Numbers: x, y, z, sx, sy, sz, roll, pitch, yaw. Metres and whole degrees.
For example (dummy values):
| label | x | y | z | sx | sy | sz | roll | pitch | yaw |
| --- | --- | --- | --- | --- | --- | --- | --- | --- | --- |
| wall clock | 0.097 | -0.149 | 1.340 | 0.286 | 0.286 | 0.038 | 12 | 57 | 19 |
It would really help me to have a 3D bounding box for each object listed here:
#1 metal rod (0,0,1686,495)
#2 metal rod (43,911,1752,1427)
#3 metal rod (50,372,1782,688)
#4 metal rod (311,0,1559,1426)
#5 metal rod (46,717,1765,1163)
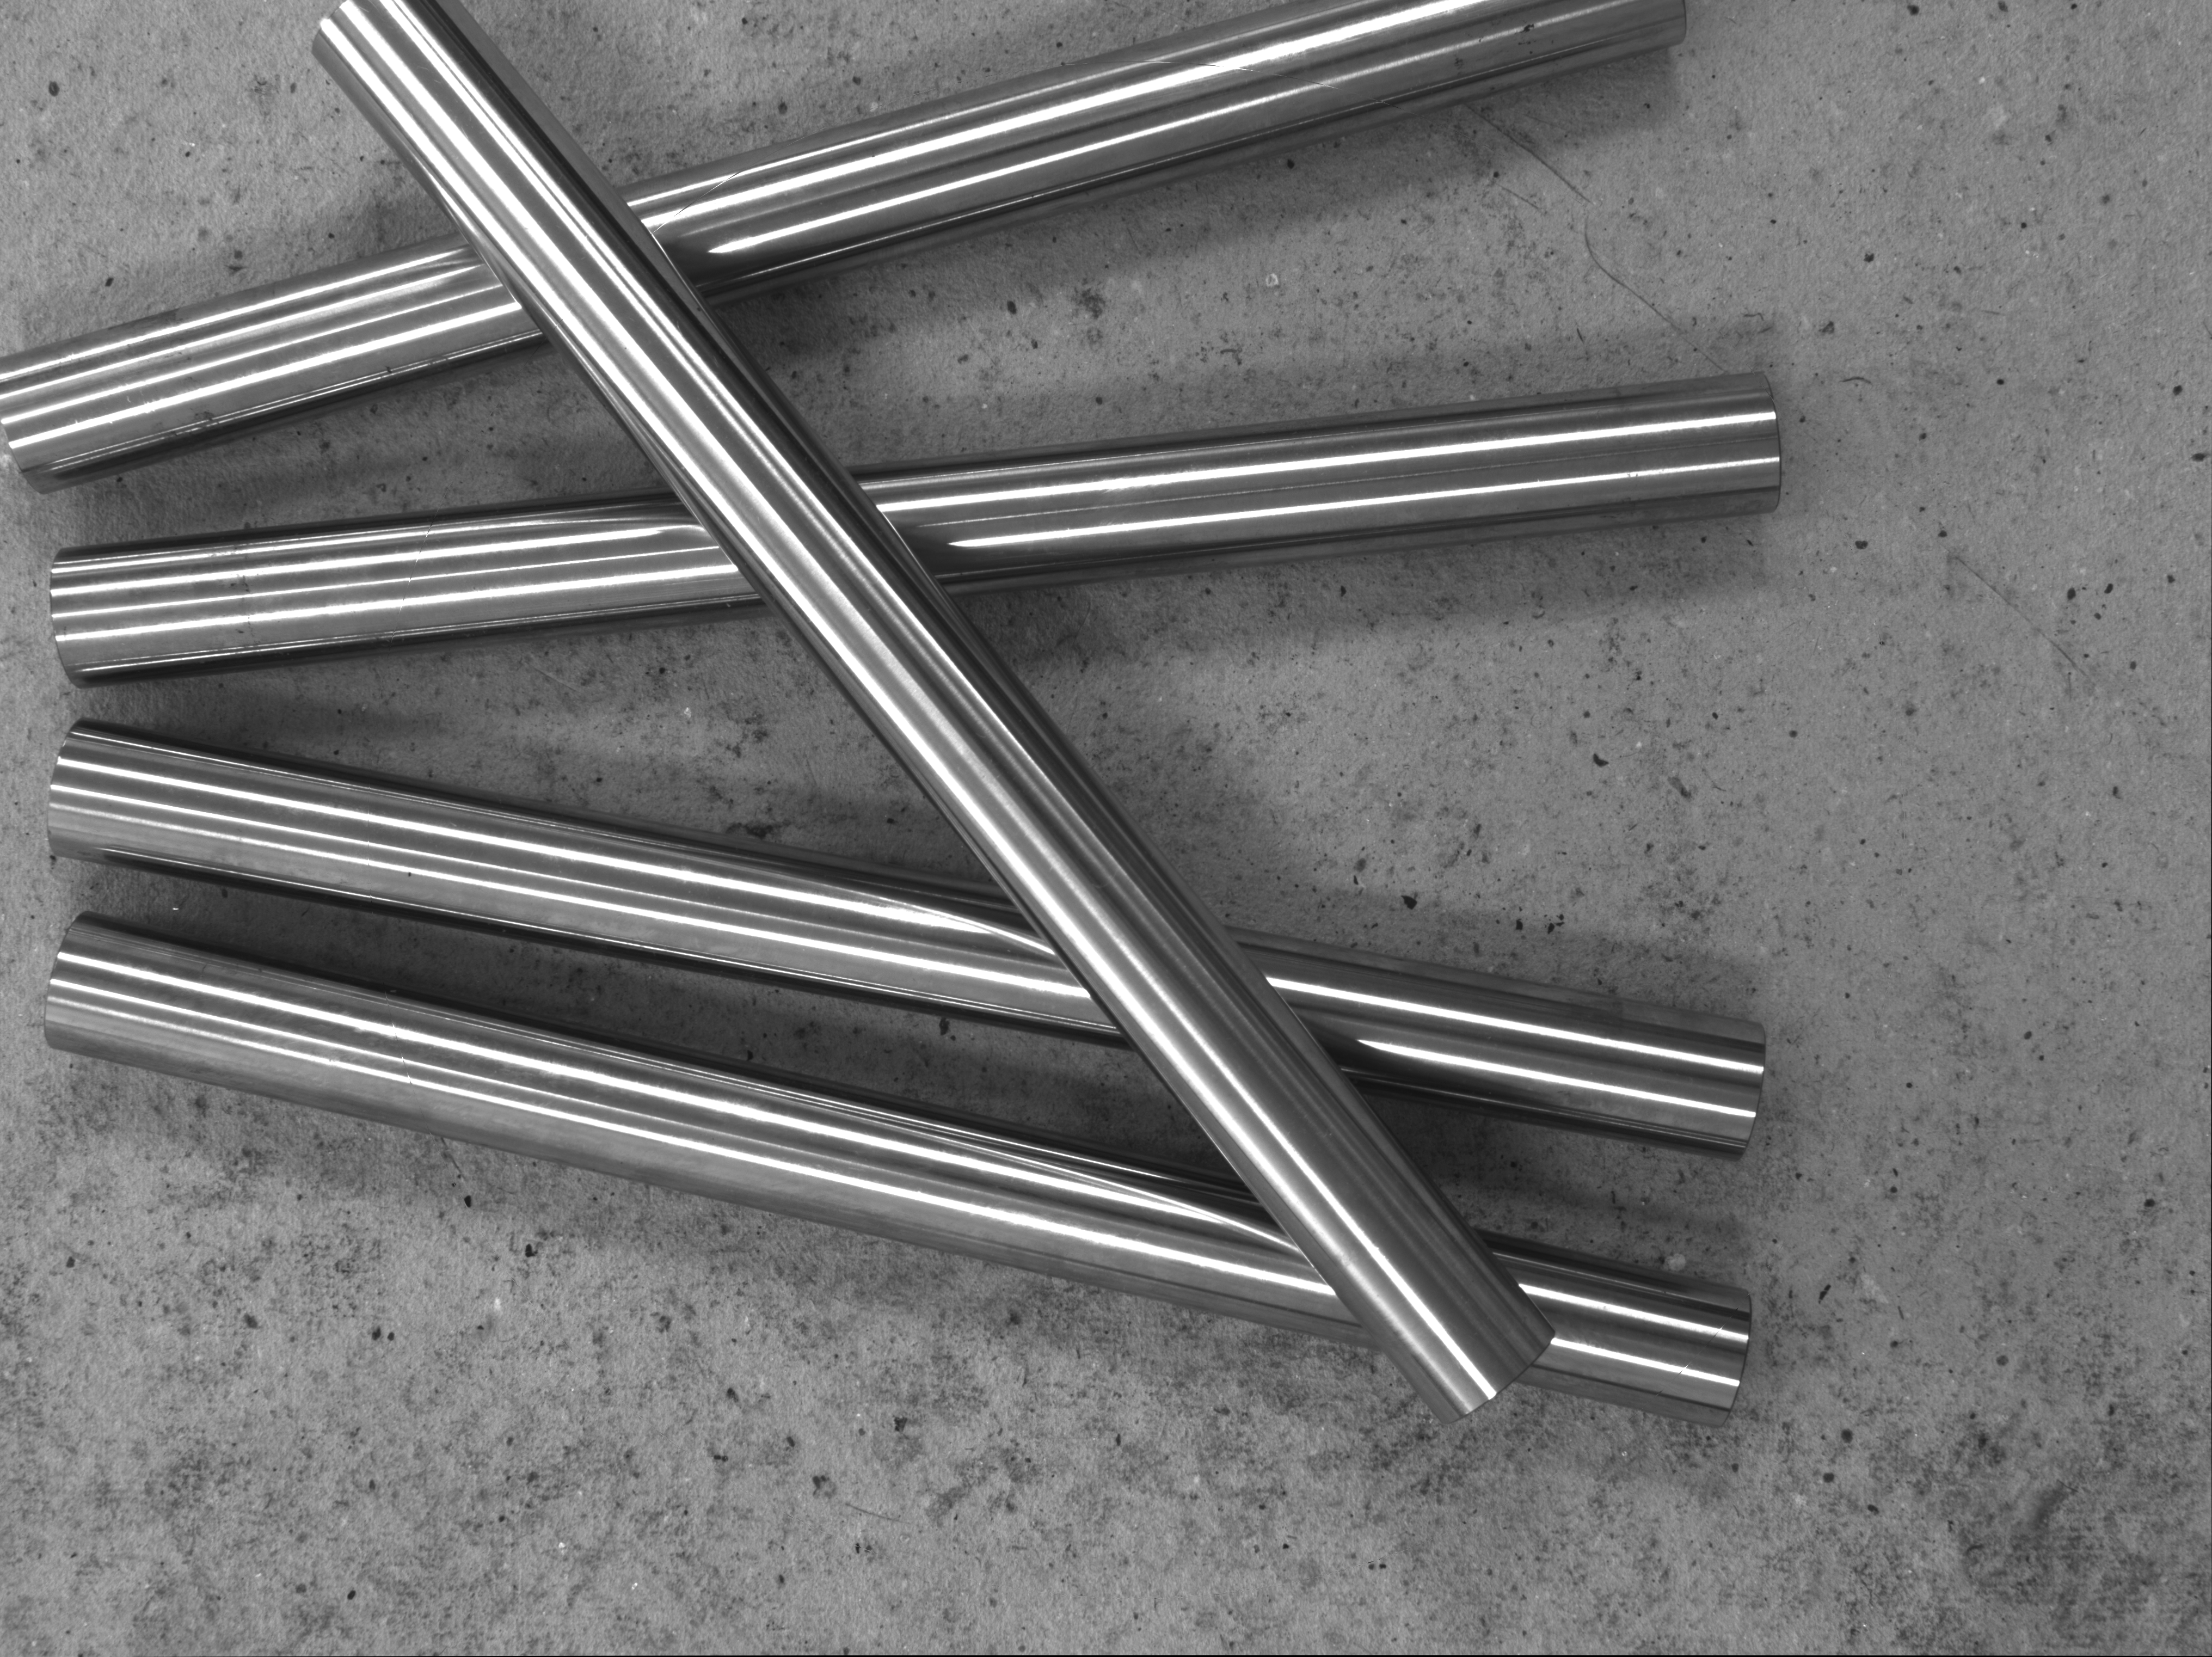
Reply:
| label | x | y | z | sx | sy | sz | roll | pitch | yaw |
| --- | --- | --- | --- | --- | --- | --- | --- | --- | --- |
| metal rod | -0.046 | -0.111 | 0.646 | 0.300 | 0.025 | 0.025 | -15 | 90 | 0 |
| metal rod | -0.036 | 0.060 | 0.645 | 0.300 | 0.025 | 0.025 | 13 | 90 | 0 |
| metal rod | -0.033 | -0.053 | 0.646 | 0.300 | 0.025 | 0.025 | -6 | 90 | 0 |
| metal rod | -0.029 | -0.023 | 0.620 | 0.025 | 0.025 | 0.300 | -40 | 90 | 0 |
| metal rod | -0.035 | 0.020 | 0.645 | 0.300 | 0.025 | 0.025 | 10 | 90 | 0 |
